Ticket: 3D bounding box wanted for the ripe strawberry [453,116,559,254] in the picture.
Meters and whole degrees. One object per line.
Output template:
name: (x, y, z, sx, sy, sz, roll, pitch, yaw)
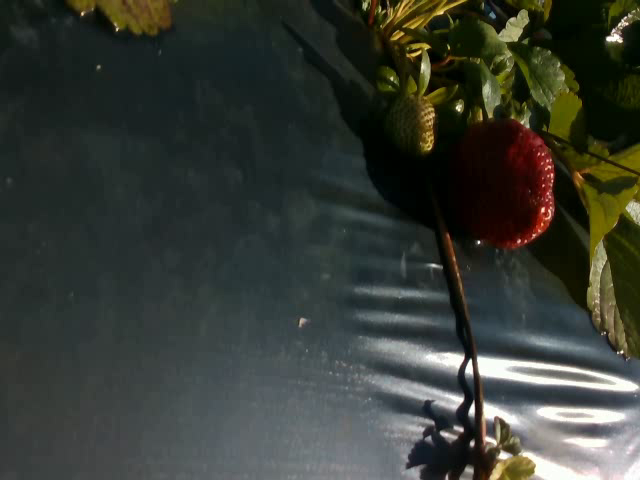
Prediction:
ripe strawberry: (0.058, -0.015, 0.180, 0.041, 0.043, 0.053, 31, 19, -34)
